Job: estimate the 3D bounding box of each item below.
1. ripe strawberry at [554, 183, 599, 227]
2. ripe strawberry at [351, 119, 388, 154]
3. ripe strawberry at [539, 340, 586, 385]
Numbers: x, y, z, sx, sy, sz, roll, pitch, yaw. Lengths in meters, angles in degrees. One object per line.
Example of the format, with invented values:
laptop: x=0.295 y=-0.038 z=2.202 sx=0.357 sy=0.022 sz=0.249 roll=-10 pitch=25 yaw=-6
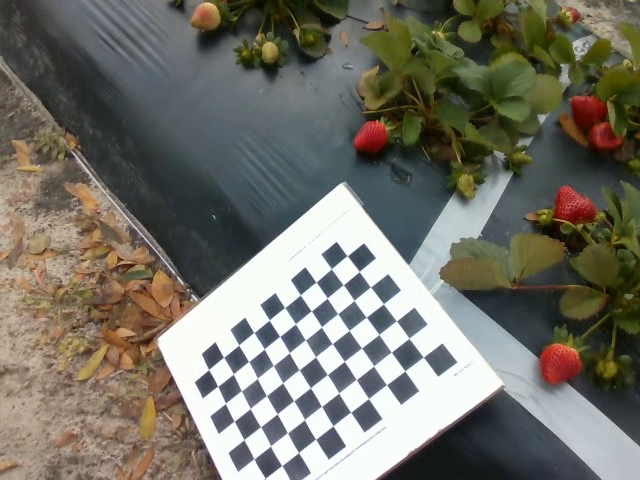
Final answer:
ripe strawberry: x=0.266 y=-0.037 z=0.734 sx=0.043 sy=0.062 sz=0.042 roll=-28 pitch=-37 yaw=20
ripe strawberry: x=0.054 y=-0.113 z=0.766 sx=0.046 sy=0.040 sz=0.036 roll=-18 pitch=36 yaw=-34
ripe strawberry: x=0.214 y=0.114 z=0.632 sx=0.039 sy=0.047 sz=0.041 roll=8 pitch=-24 yaw=38
